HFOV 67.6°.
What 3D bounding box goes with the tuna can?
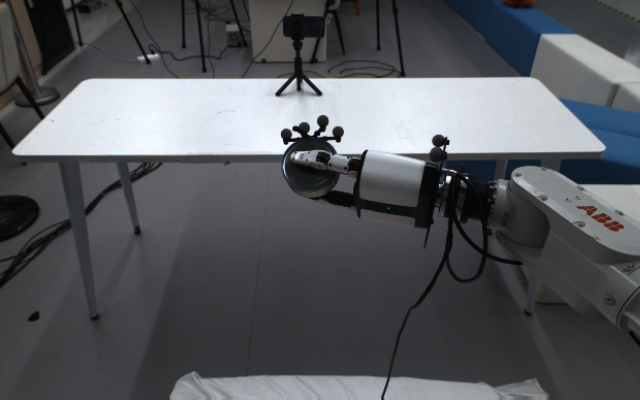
[{"bbox_3d":[-0.011,-0.044,0.716,0.085,0.034,0.085,-2,69,6],"label":"tuna can"}]
